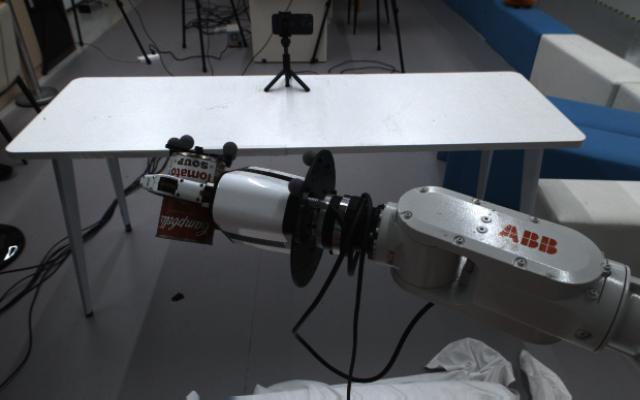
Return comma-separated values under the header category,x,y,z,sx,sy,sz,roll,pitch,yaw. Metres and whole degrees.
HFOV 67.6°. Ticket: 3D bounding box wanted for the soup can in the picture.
category,x,y,z,sx,sy,sz,roll,pitch,yaw
soup can,-0.154,0.000,0.583,0.067,0.101,0.067,9,-6,1
